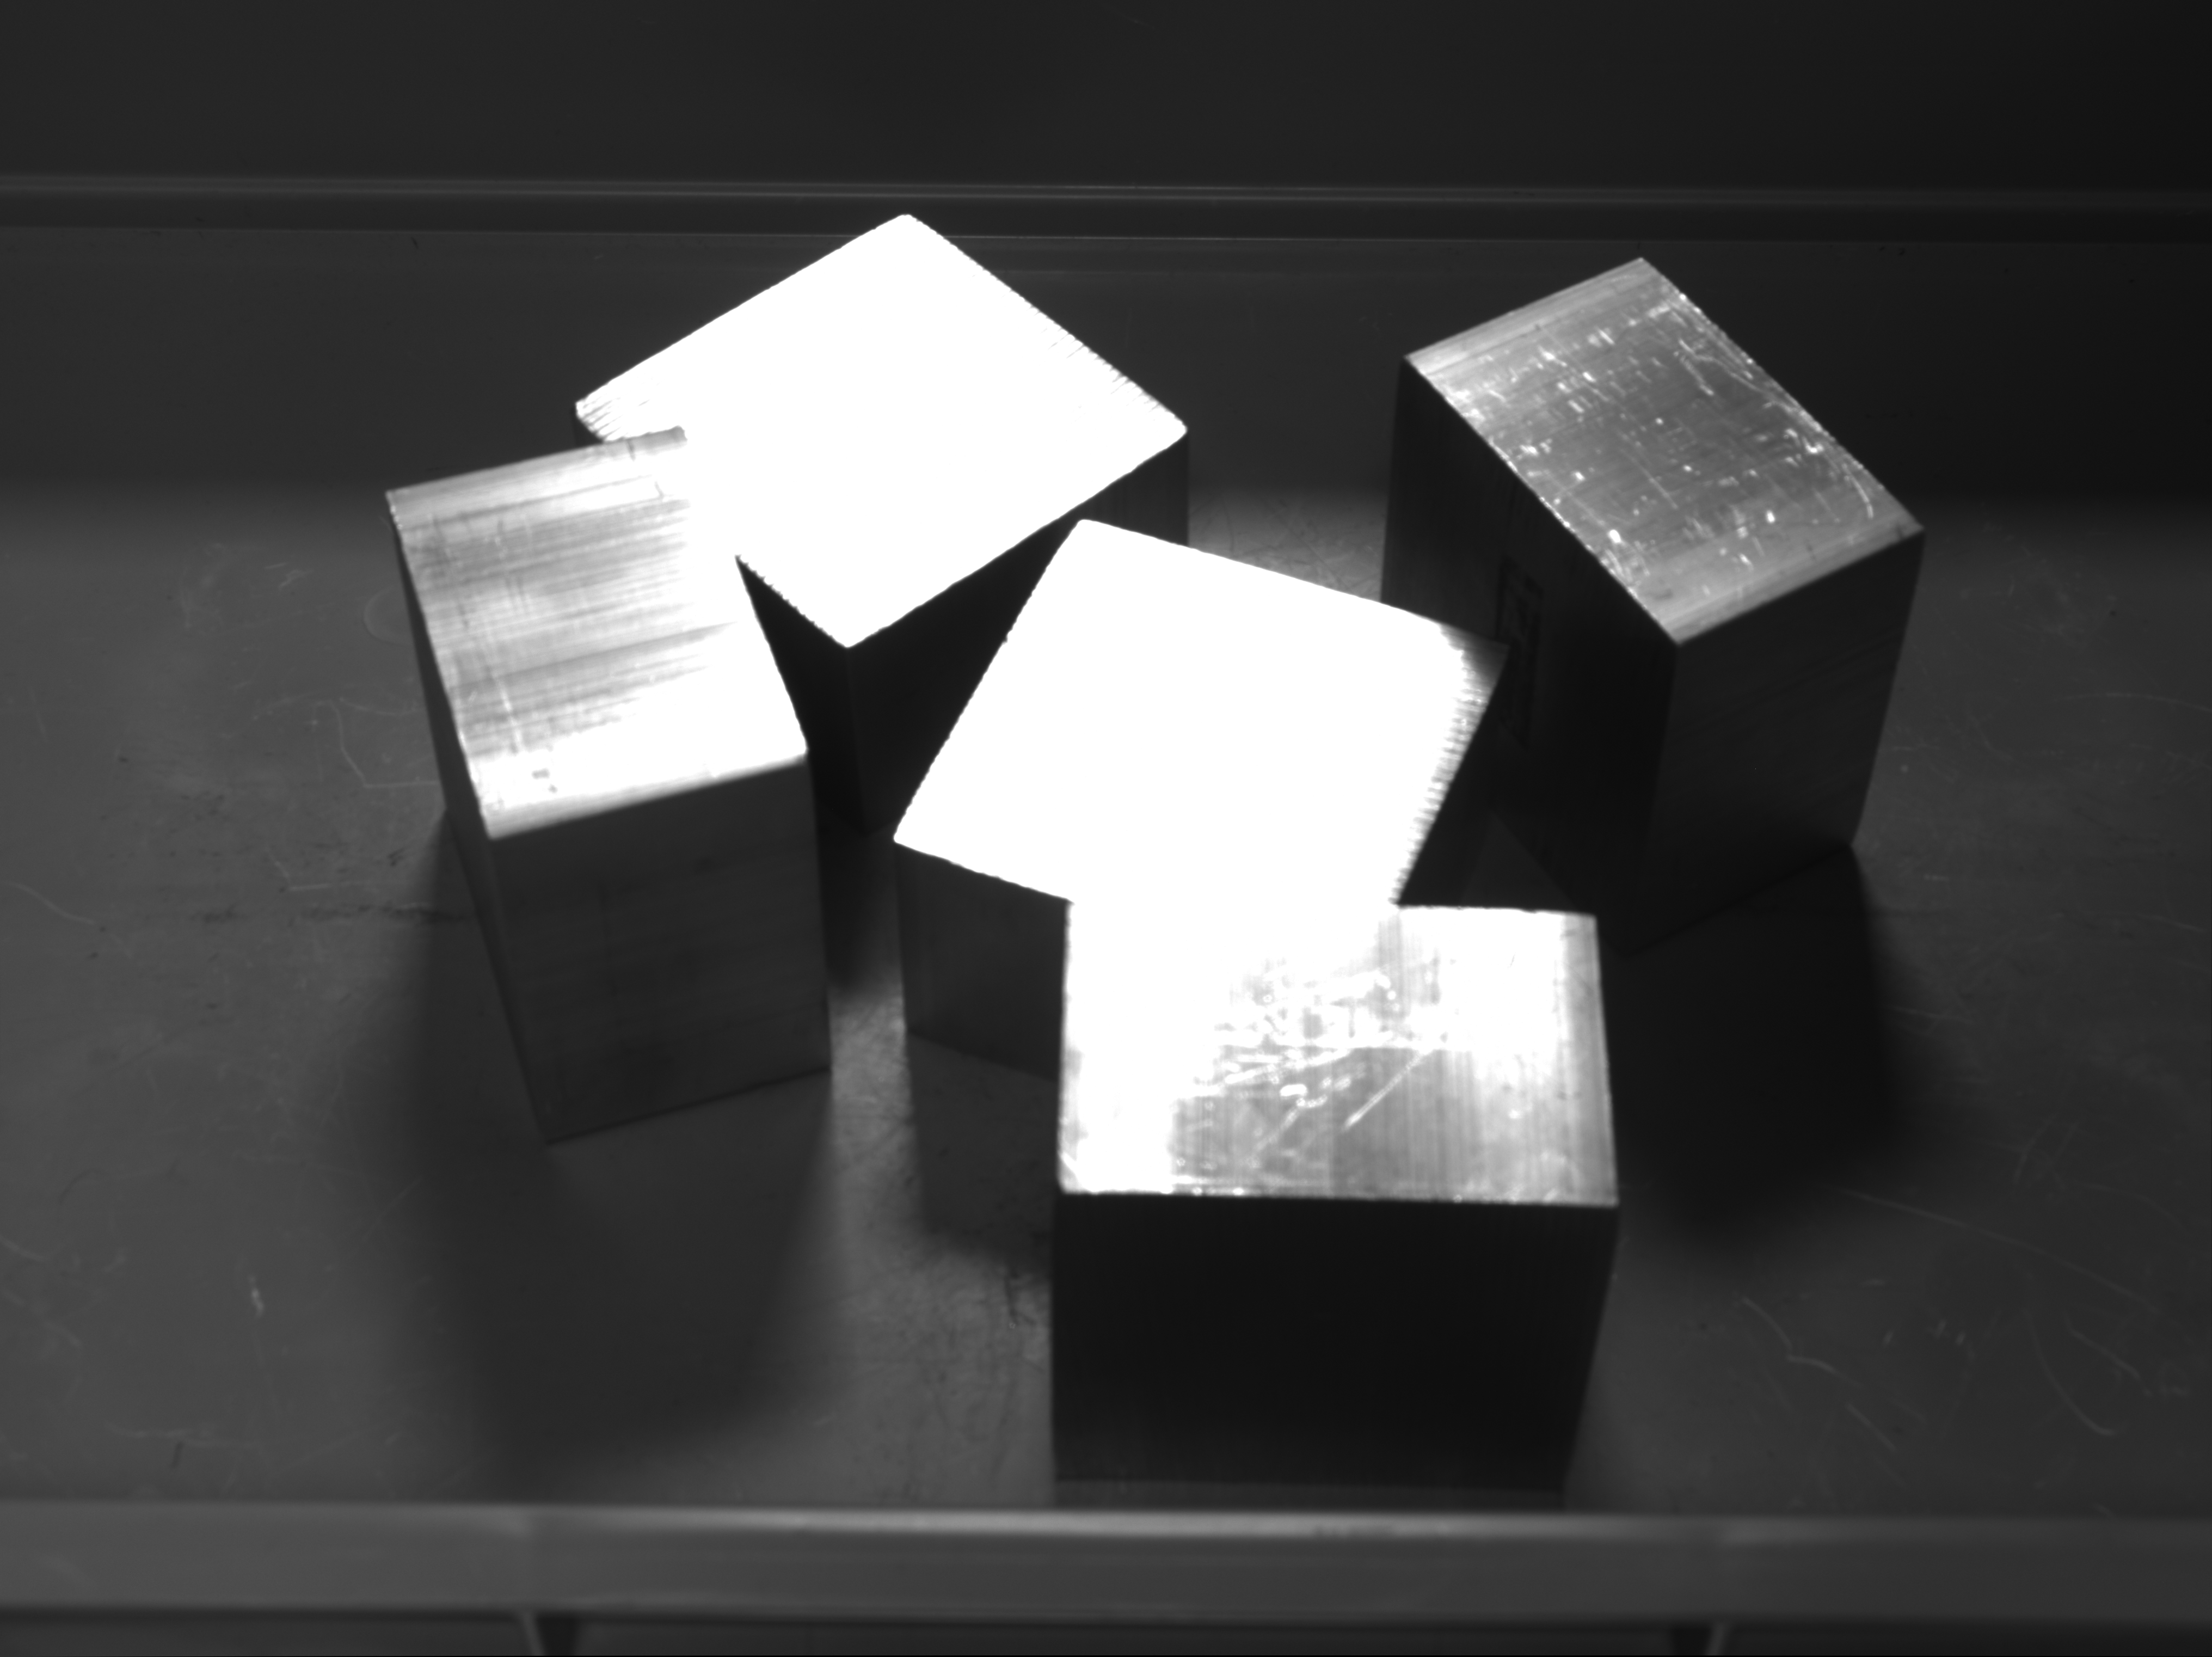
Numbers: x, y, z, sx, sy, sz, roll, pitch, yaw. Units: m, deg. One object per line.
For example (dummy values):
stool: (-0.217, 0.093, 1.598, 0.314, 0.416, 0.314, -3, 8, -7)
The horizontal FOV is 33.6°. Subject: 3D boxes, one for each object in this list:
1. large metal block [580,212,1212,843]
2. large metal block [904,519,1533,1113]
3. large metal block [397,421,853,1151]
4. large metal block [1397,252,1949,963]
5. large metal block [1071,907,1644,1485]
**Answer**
large metal block: (-0.038, -0.057, 0.672, 0.080, 0.050, 0.080, -35, 58, -26)
large metal block: (0.020, 0.002, 0.623, 0.080, 0.050, 0.080, 18, 52, 14)
large metal block: (-0.080, -0.007, 0.611, 0.050, 0.080, 0.080, -14, 51, -12)
large metal block: (0.095, -0.038, 0.637, 0.050, 0.080, 0.080, -25, 54, -19)
large metal block: (0.036, 0.057, 0.557, 0.080, 0.080, 0.050, 1, 50, 1)
